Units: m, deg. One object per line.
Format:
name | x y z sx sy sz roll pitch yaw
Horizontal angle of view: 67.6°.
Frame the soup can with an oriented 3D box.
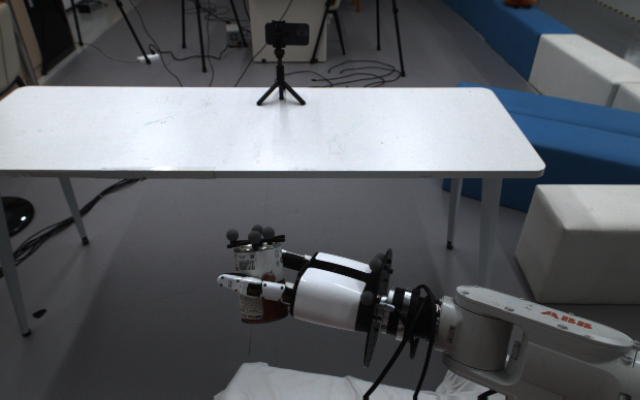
soup can | -0.080 0.114 0.672 0.067 0.101 0.067 -7 3 0
